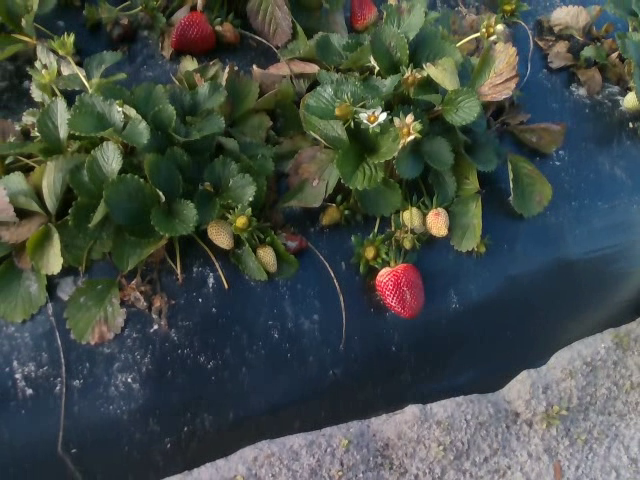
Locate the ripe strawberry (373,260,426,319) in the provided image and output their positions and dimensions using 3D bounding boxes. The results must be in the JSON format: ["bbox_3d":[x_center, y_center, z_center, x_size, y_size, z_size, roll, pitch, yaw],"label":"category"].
[{"bbox_3d":[0.092,0.058,0.692,0.052,0.068,0.045,-11,-35,-16],"label":"ripe strawberry"}]
